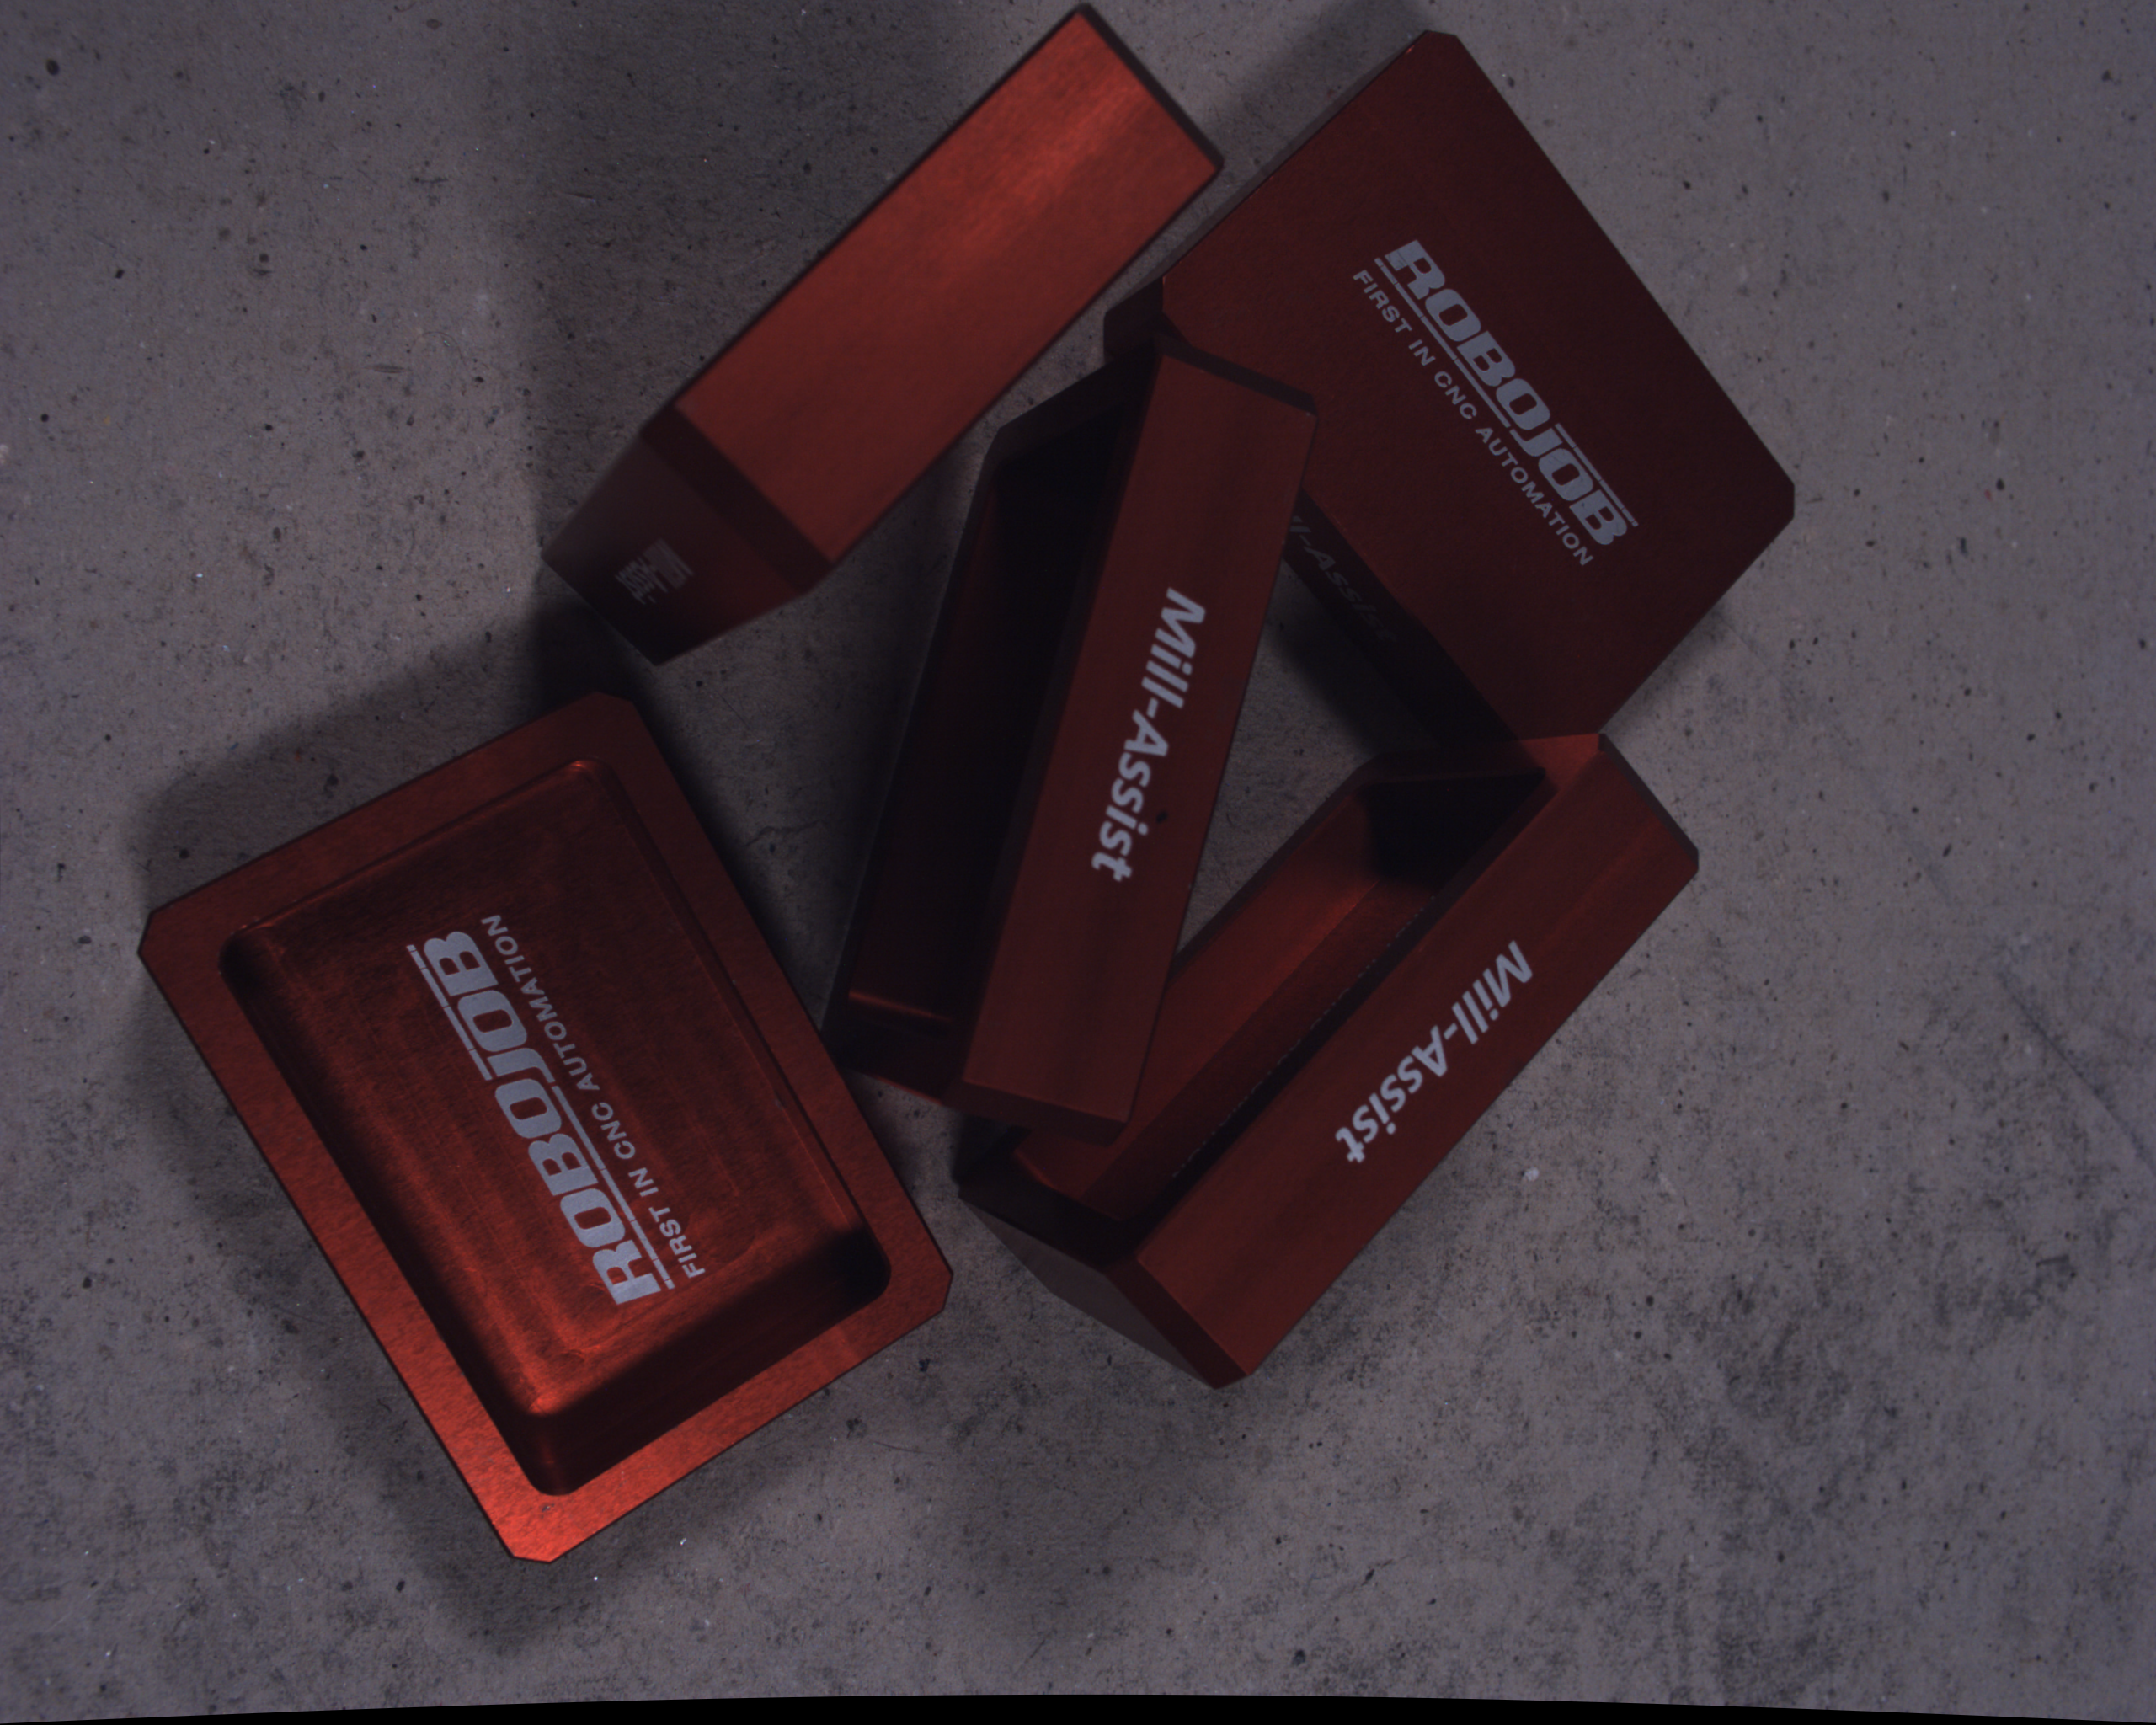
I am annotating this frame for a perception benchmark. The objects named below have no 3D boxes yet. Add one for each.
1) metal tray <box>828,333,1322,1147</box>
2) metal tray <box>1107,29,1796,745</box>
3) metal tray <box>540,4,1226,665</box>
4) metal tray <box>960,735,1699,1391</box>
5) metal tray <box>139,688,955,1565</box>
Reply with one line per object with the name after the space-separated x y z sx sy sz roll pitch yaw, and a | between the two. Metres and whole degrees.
-0.005 -0.020 0.374 0.030 0.090 0.129 18 84 -20 | metal tray
0.081 -0.094 0.439 0.090 0.030 0.130 -46 105 -14 | metal tray
-0.039 -0.079 0.341 0.030 0.130 0.090 46 75 -15 | metal tray
0.044 0.032 0.393 0.130 0.090 0.030 -45 105 -15 | metal tray
-0.092 0.045 0.374 0.091 0.030 0.129 -30 100 -18 | metal tray
